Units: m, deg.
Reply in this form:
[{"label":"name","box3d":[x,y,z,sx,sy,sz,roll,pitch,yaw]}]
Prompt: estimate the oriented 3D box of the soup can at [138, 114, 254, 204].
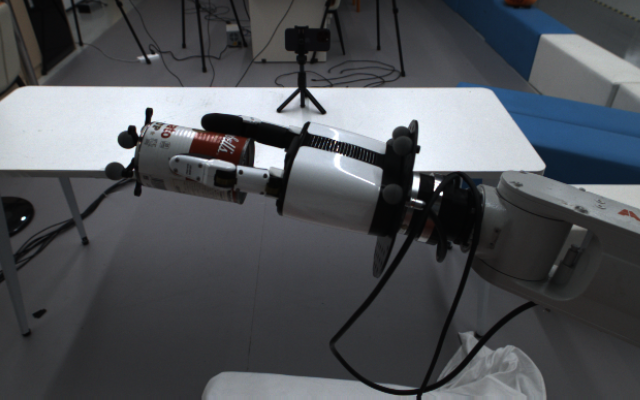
[{"label":"soup can","box3d":[-0.120,-0.037,0.486,0.101,0.067,0.067,10,35,0]}]
